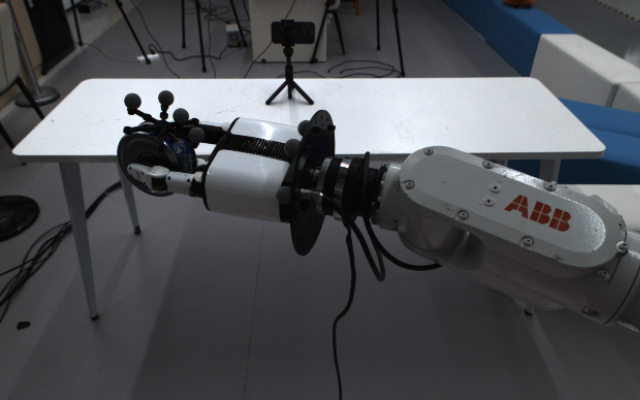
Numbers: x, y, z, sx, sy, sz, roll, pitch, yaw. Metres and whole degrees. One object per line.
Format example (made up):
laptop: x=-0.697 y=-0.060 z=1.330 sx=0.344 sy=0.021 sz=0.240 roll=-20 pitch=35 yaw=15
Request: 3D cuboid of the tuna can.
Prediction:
tuna can: x=-0.188 y=-0.046 z=0.561 sx=0.085 sy=0.085 sz=0.034 roll=12 pitch=35 yaw=13
